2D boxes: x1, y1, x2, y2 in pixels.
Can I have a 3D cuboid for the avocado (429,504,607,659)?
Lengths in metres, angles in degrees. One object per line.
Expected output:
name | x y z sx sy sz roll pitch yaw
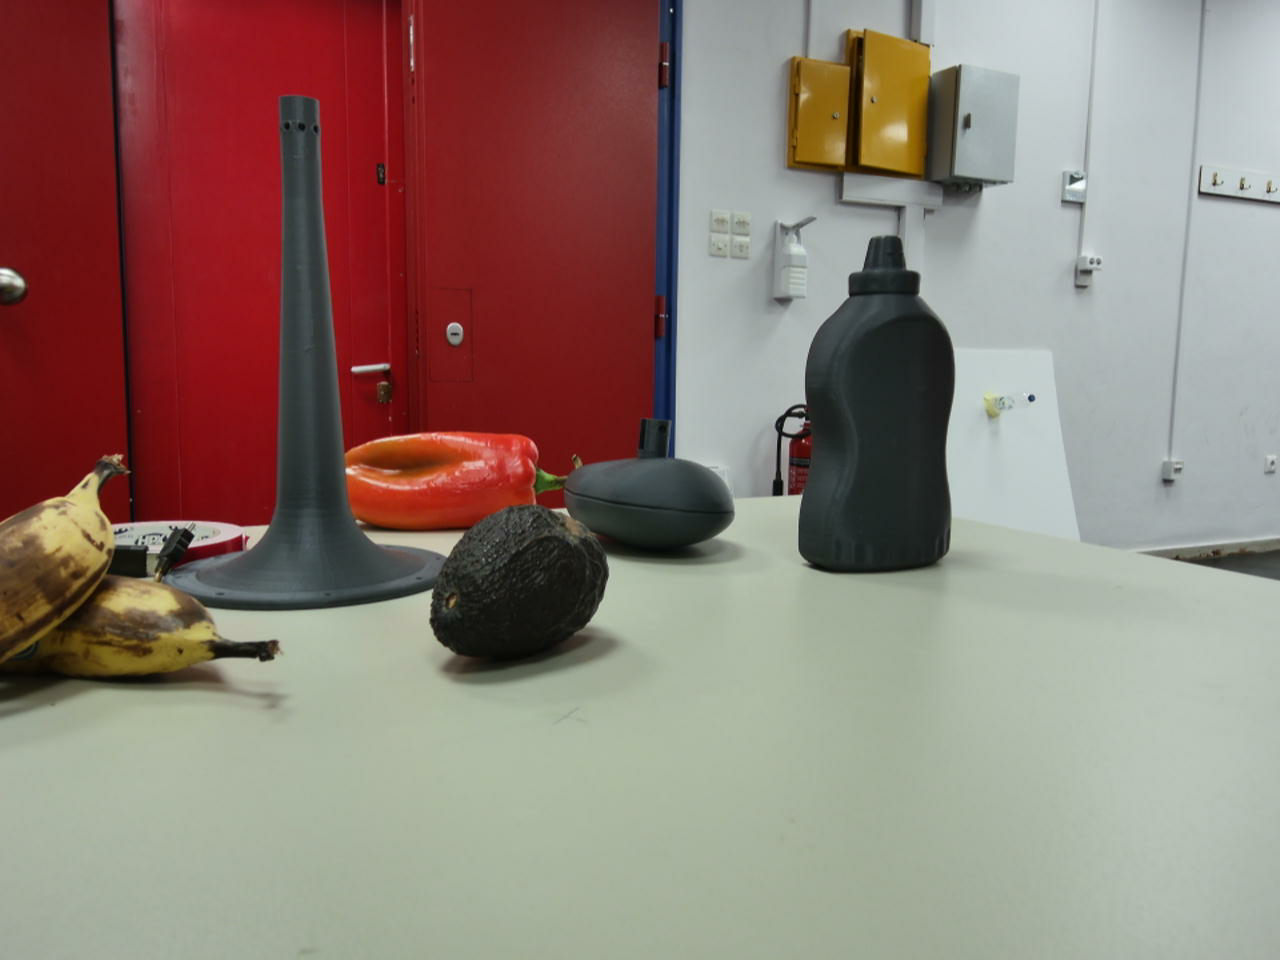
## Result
avocado | -0.053 0.042 0.419 0.062 0.062 0.092 4 6 40
